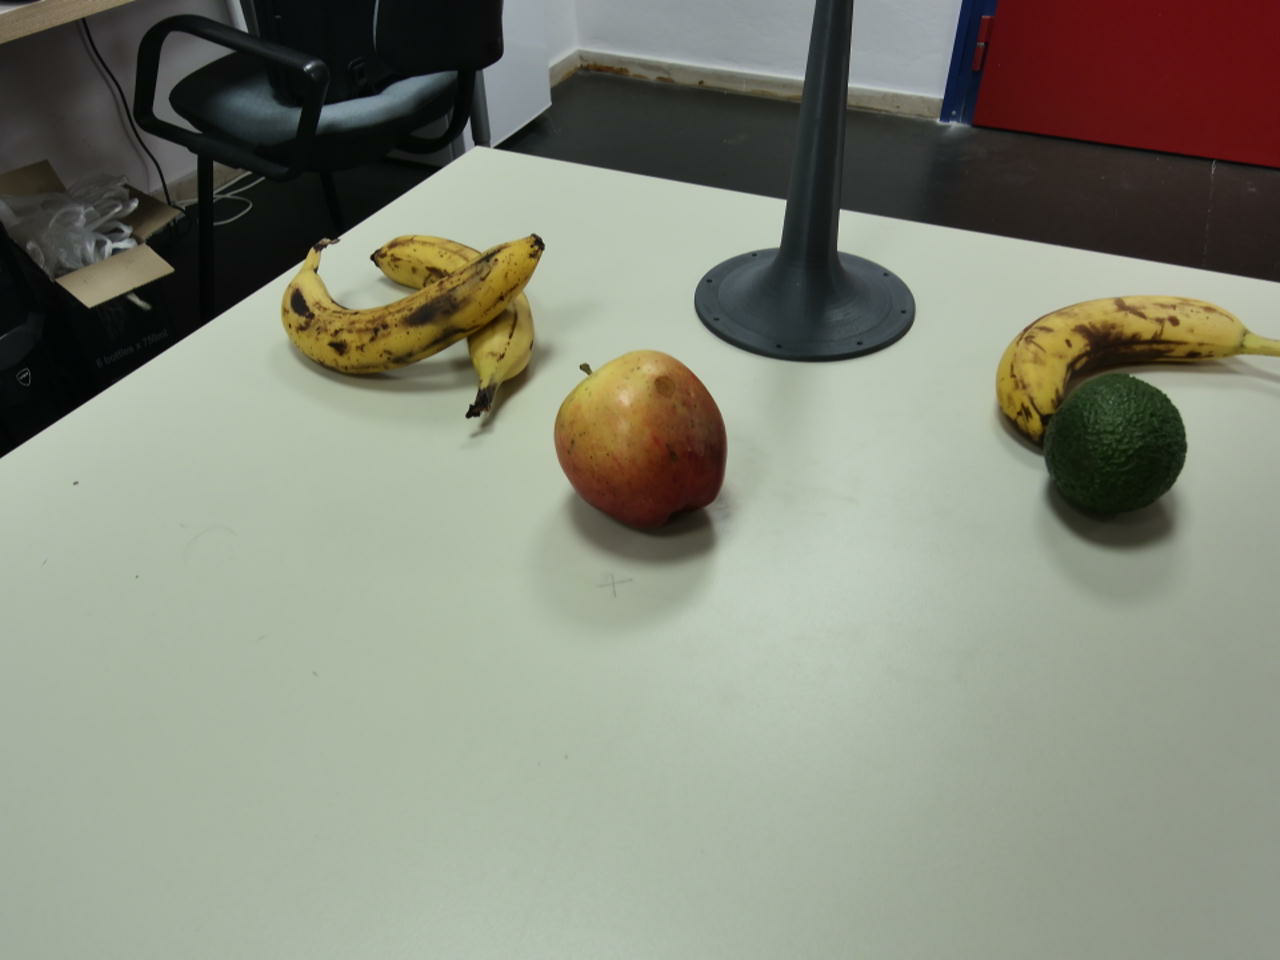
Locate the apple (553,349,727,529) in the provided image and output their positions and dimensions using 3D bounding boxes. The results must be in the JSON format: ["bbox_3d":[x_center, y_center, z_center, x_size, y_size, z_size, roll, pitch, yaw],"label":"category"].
[{"bbox_3d":[0.000,-0.022,0.505,0.086,0.084,0.093,-7,39,-8],"label":"apple"}]
